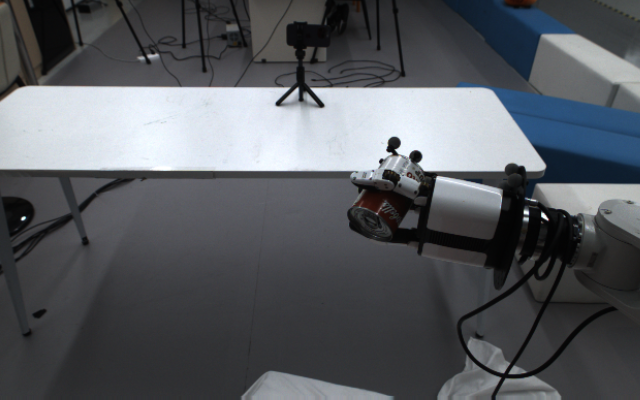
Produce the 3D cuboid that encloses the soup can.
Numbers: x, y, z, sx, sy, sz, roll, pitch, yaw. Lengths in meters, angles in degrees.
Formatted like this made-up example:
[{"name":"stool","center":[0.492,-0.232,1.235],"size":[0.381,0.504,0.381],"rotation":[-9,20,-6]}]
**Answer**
[{"name":"soup can","center":[0.093,-0.005,0.648],"size":[0.067,0.067,0.101],"rotation":[22,60,26]}]
